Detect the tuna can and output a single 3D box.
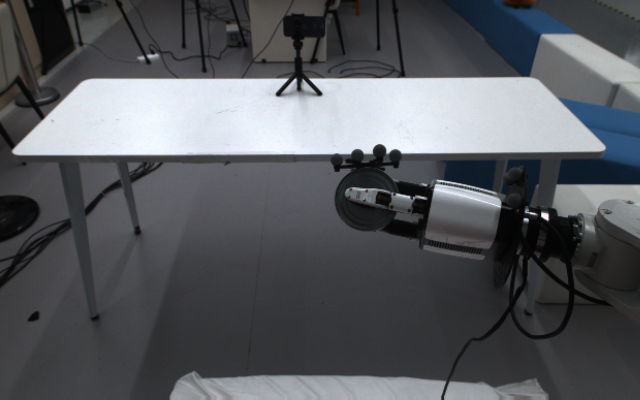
[{"bbox_3d":[0.064,-0.001,0.650,0.085,0.034,0.085,-2,79,10],"label":"tuna can"}]
